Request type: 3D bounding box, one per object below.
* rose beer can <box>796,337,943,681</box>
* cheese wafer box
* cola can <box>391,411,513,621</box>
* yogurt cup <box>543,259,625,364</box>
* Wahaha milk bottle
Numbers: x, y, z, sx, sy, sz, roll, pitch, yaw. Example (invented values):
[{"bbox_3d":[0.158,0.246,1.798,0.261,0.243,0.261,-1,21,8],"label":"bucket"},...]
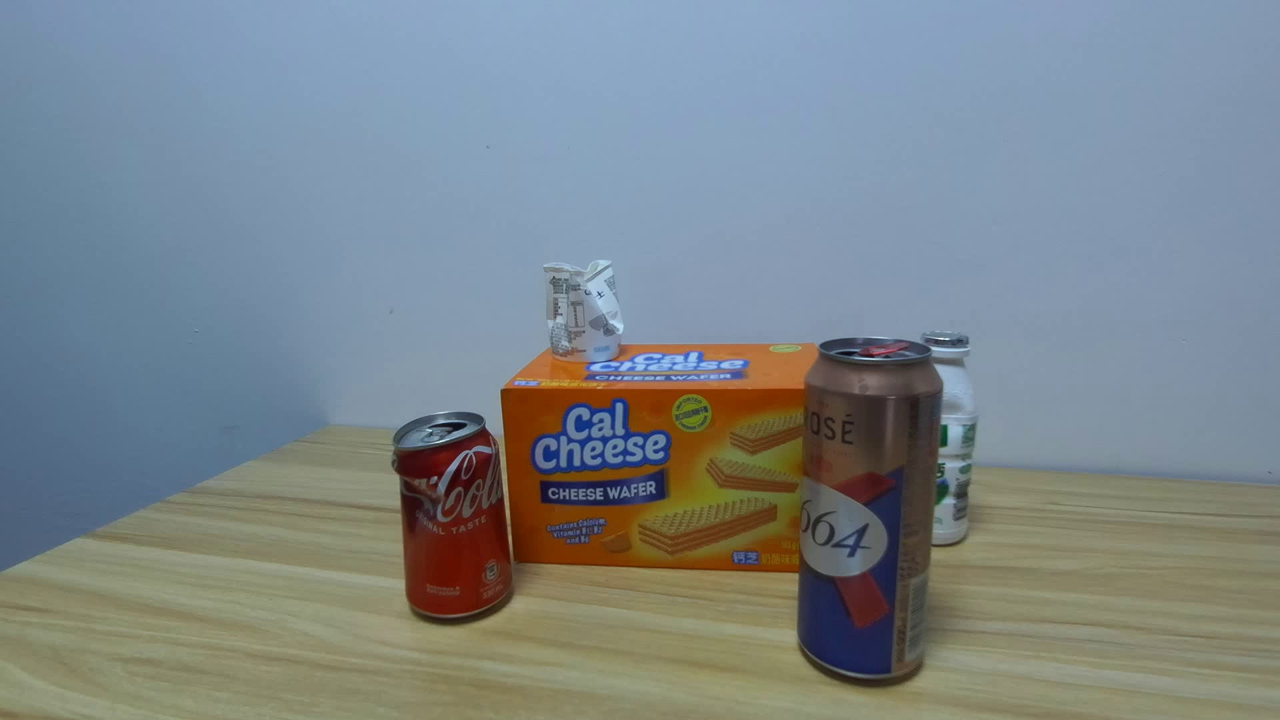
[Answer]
[{"bbox_3d":[0.117,0.077,0.365,0.068,0.169,0.068,-2,14,1],"label":"rose beer can"},{"bbox_3d":[0.028,0.064,0.529,0.221,0.129,0.148,0,12,7],"label":"cheese wafer box"},{"bbox_3d":[-0.113,0.095,0.433,0.066,0.117,0.072,-8,13,-30],"label":"cola can"},{"bbox_3d":[-0.043,-0.038,0.543,0.055,0.072,0.055,-11,16,-34],"label":"yogurt cup"},{"bbox_3d":[0.209,0.061,0.501,0.053,0.136,0.053,0,12,0],"label":"Wahaha milk bottle"}]
